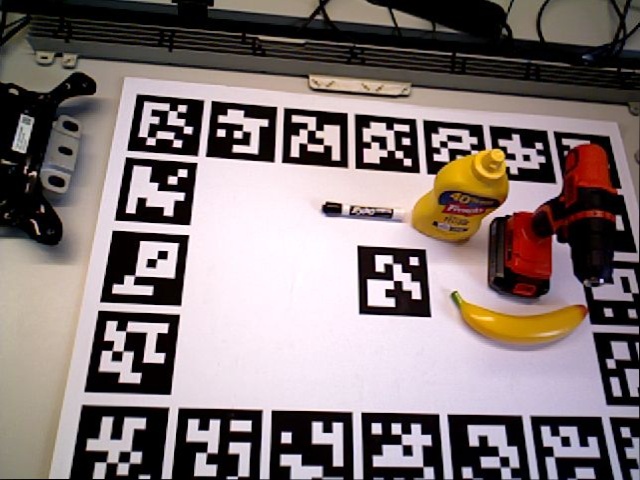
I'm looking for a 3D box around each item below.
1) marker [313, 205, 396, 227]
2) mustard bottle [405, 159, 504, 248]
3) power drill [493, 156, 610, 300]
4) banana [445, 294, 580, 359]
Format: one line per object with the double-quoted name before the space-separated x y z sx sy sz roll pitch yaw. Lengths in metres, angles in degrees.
"marker" 0.050 -0.036 0.794 0.120 0.020 0.019 6 68 -6
"mustard bottle" 0.188 -0.051 0.725 0.096 0.195 0.057 15 66 -4
"power drill" 0.293 0.010 0.698 0.057 0.191 0.182 17 64 -4
"banana" 0.267 0.127 0.754 0.196 0.039 0.073 11 69 -2
